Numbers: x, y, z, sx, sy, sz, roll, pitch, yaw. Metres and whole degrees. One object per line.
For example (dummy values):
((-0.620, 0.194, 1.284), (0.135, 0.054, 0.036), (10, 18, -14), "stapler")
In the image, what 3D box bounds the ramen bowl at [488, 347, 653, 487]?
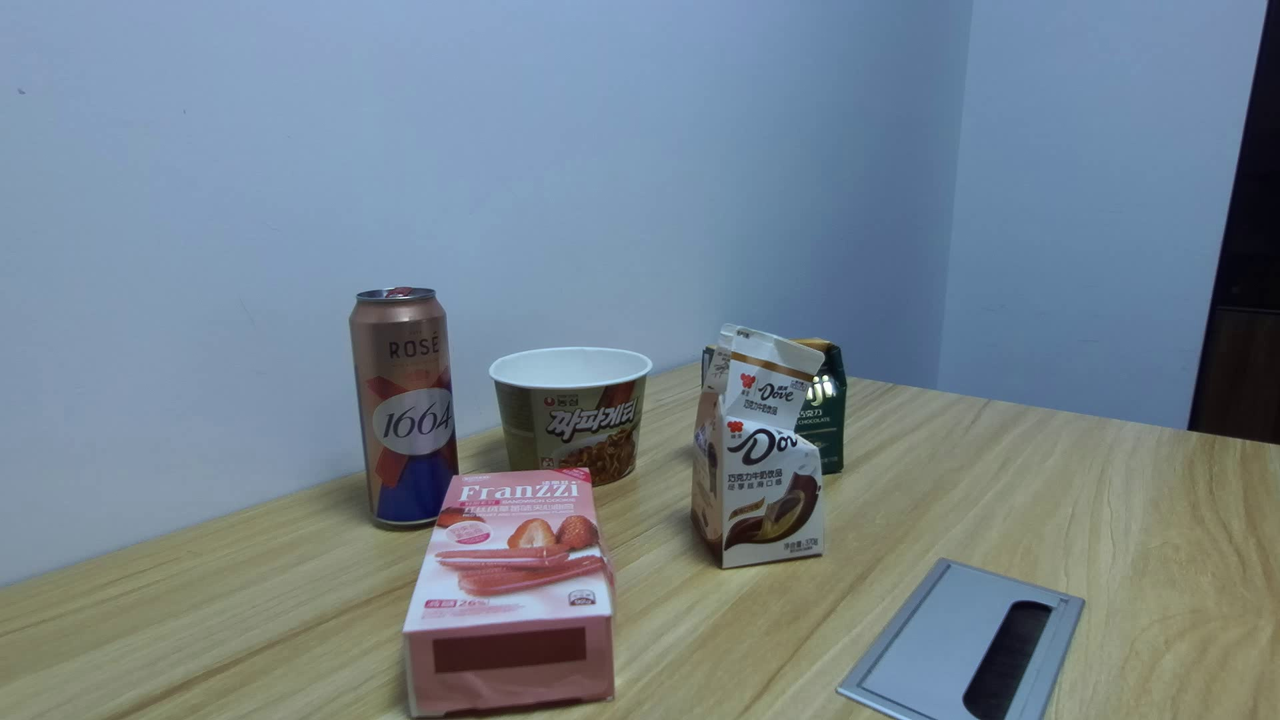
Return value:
((-0.058, 0.048, 0.619), (0.140, 0.095, 0.140), (0, 14, 0), "ramen bowl")

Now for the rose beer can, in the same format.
((-0.172, 0.036, 0.522), (0.068, 0.169, 0.068), (0, 13, 0), "rose beer can")

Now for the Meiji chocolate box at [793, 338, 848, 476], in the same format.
((0.117, 0.040, 0.610), (0.117, 0.117, 0.051), (-4, 7, -10), "Meiji chocolate box")

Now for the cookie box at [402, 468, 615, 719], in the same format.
((-0.067, 0.121, 0.412), (0.105, 0.049, 0.187), (-1, 14, -7), "cookie box")

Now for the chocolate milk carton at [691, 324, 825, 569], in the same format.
((0.079, 0.050, 0.467), (0.076, 0.155, 0.073), (-3, 17, -12), "chocolate milk carton")
